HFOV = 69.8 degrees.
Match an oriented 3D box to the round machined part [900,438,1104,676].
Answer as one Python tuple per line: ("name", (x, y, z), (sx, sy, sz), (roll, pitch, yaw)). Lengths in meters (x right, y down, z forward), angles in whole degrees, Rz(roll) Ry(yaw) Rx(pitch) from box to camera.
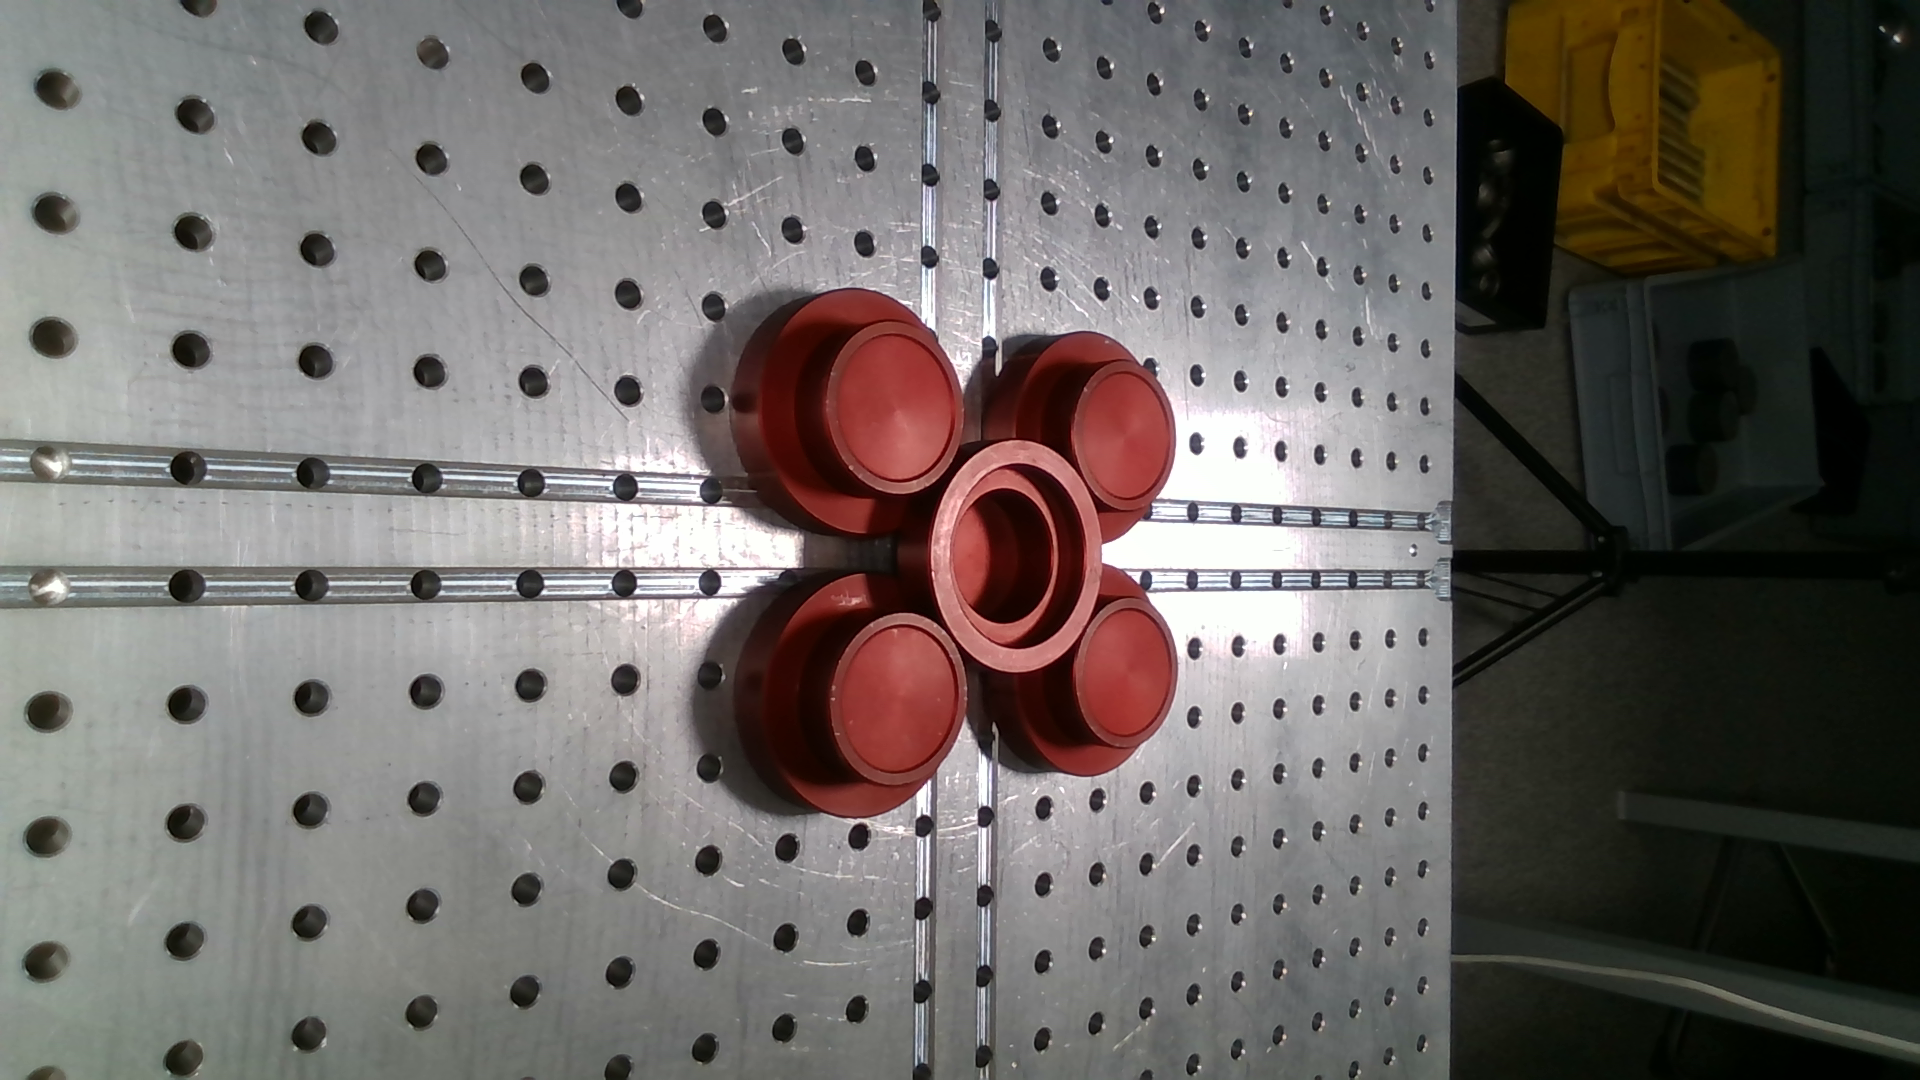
("round machined part", (0.013, 0.007, 0.584), (0.098, 0.042, 0.098), (0, 90, -40))

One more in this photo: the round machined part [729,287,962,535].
("round machined part", (-0.038, -0.051, 0.543), (0.098, 0.042, 0.098), (0, 90, -40))

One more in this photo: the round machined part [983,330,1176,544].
("round machined part", (0.060, -0.046, 0.625), (0.098, 0.042, 0.098), (0, 90, -40))

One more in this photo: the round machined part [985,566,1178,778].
("round machined part", (0.061, 0.059, 0.626), (0.098, 0.042, 0.098), (0, 90, -40))

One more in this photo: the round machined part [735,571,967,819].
("round machined part", (-0.036, 0.061, 0.544), (0.098, 0.042, 0.098), (0, 90, -40))
